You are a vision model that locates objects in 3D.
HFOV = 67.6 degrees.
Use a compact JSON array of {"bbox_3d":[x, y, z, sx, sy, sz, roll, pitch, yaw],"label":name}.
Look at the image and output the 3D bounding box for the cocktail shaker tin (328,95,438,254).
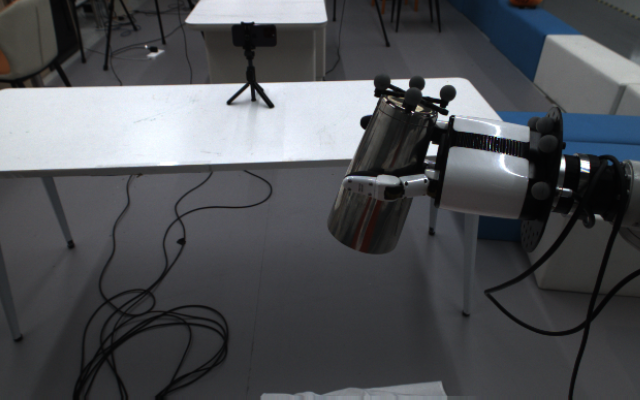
[{"bbox_3d":[0.077,-0.034,0.562,0.093,0.170,0.093,12,29,-7],"label":"cocktail shaker tin"}]
